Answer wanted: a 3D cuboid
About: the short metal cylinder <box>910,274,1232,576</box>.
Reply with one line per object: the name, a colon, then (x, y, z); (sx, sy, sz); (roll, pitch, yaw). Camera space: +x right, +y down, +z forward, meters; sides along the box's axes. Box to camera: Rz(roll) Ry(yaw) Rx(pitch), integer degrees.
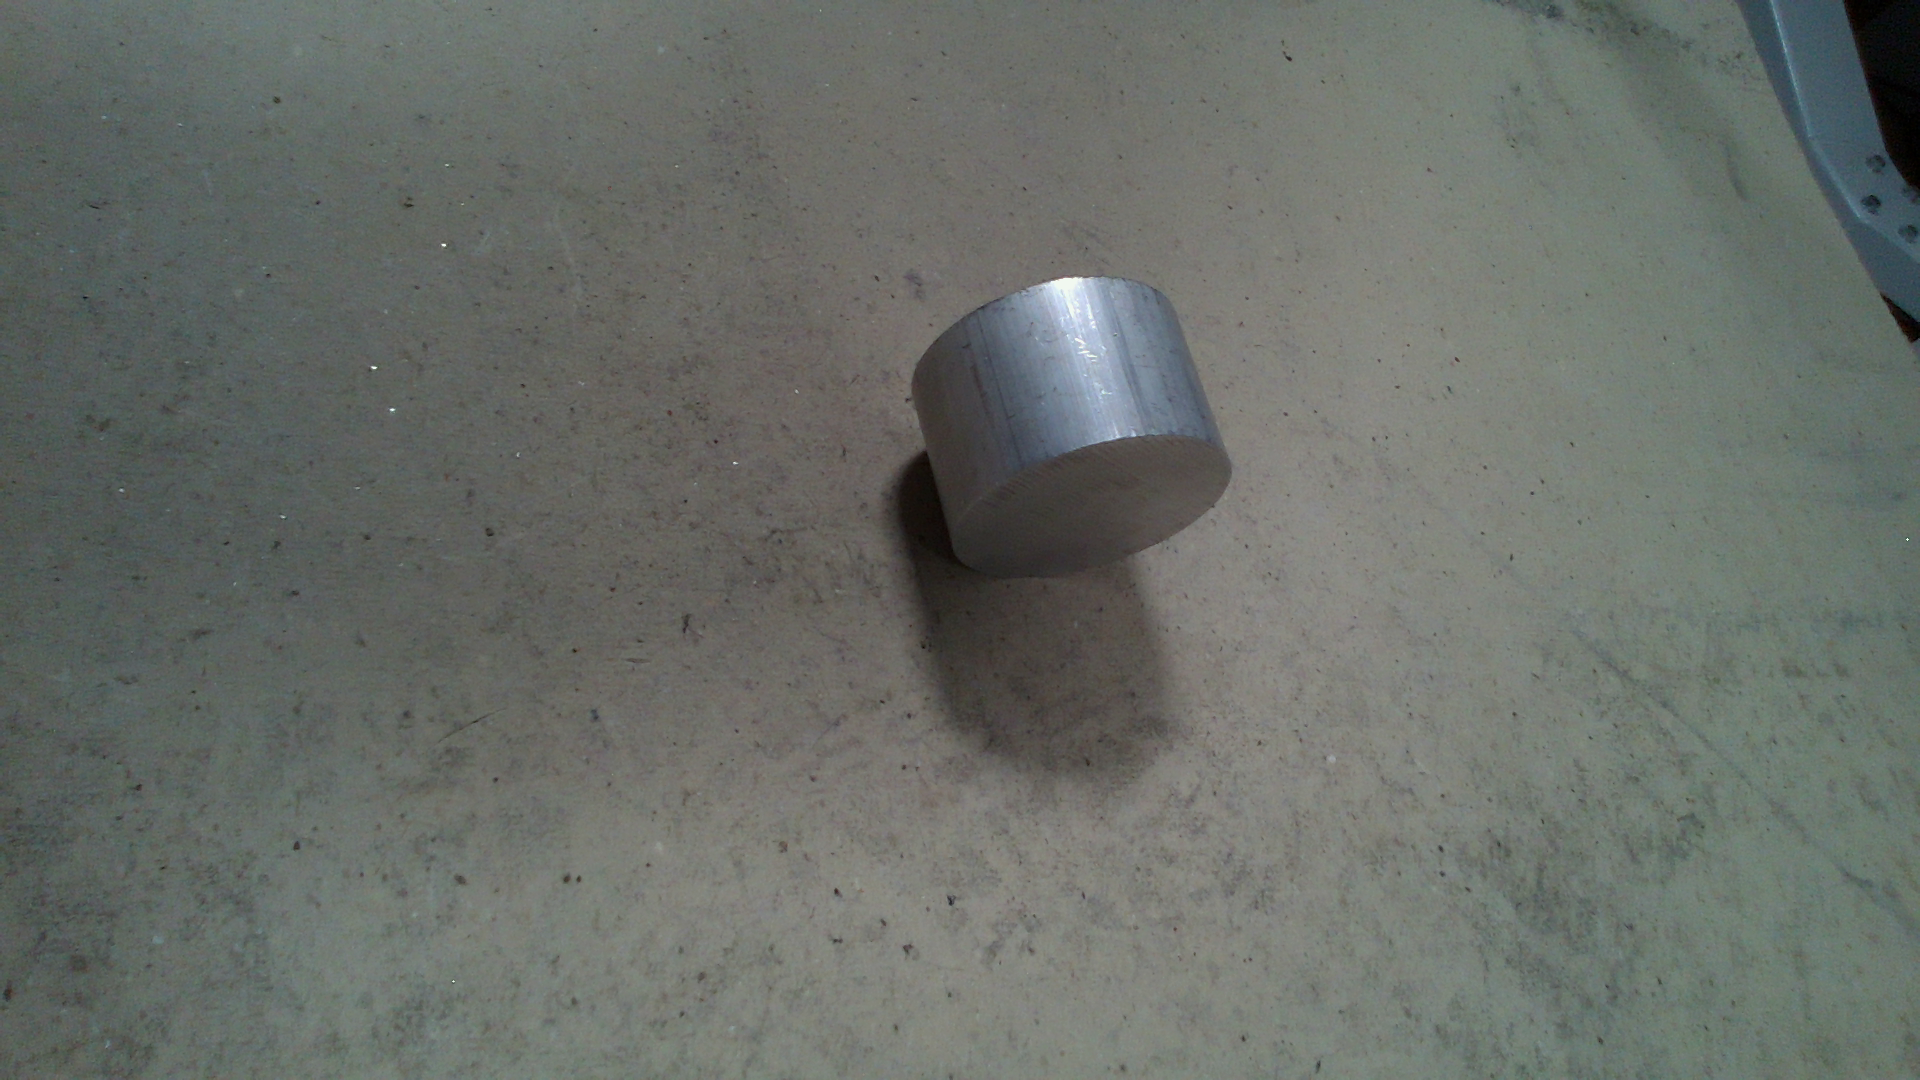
short metal cylinder: (0.031, -0.030, 0.390); (0.080, 0.080, 0.050); (-1, 62, -29)
